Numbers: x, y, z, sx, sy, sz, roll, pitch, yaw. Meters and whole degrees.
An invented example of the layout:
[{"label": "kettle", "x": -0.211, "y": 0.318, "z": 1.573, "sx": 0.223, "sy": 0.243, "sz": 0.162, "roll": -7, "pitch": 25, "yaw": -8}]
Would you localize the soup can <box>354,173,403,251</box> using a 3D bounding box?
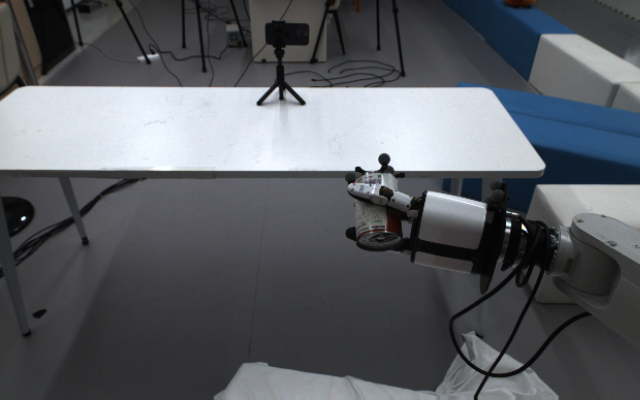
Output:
[{"label": "soup can", "x": 0.086, "y": 0.017, "z": 0.712, "sx": 0.067, "sy": 0.067, "sz": 0.101, "roll": 1, "pitch": 62, "yaw": -2}]
